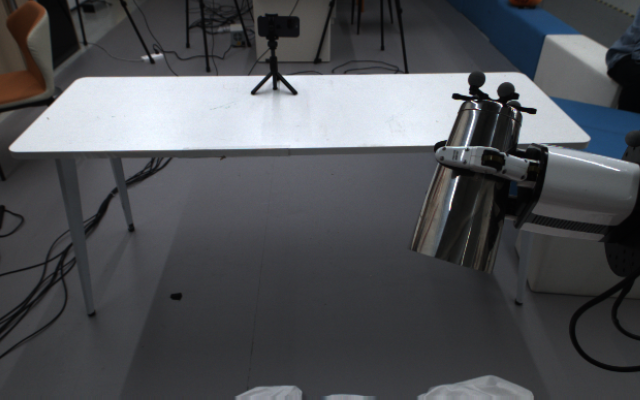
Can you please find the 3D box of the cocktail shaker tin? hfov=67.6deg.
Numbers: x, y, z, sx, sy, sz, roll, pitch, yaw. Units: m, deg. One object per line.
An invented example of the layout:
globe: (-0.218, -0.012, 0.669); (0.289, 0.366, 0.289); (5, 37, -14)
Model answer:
cocktail shaker tin: (0.165, -0.016, 0.523); (0.093, 0.170, 0.093); (16, -2, 1)
